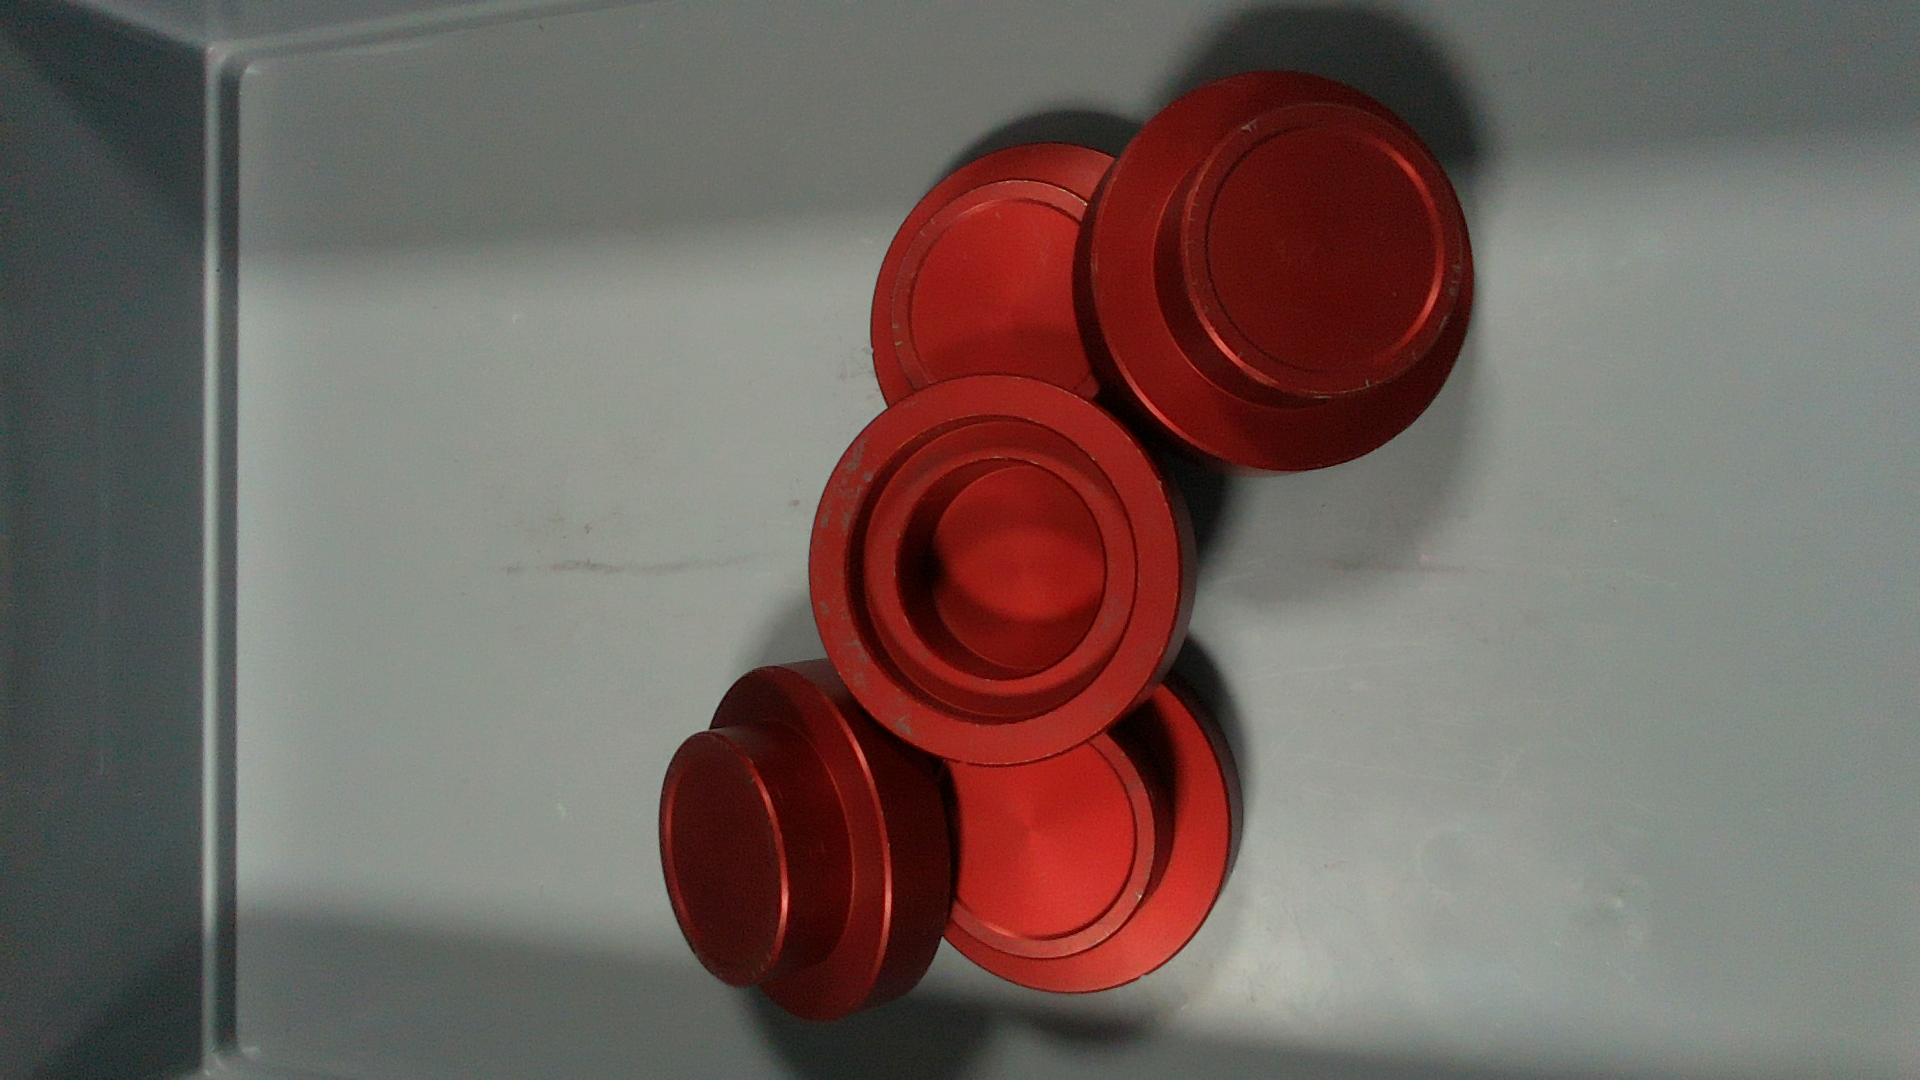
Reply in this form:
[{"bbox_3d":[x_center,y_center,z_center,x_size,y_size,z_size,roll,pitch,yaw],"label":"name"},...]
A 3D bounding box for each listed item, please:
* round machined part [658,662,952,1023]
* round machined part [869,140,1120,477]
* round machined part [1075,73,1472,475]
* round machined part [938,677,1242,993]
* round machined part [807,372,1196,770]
[{"bbox_3d":[-0.049,0.084,0.381,0.098,0.042,0.098,6,98,49],"label":"round machined part"},{"bbox_3d":[0.019,-0.061,0.378,0.098,0.042,0.098,0,90,20],"label":"round machined part"},{"bbox_3d":[0.080,-0.065,0.334,0.098,0.042,0.098,0,87,-11],"label":"round machined part"},{"bbox_3d":[0.025,0.075,0.377,0.098,0.042,0.098,0,90,20],"label":"round machined part"},{"bbox_3d":[0.013,0.007,0.357,0.098,0.042,0.098,0,90,20],"label":"round machined part"}]
